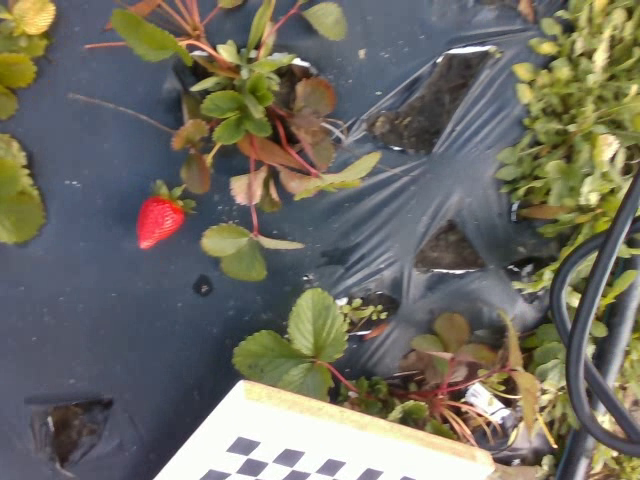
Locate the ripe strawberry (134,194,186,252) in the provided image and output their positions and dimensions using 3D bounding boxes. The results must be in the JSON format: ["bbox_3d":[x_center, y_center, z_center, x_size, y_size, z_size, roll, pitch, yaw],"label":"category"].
[{"bbox_3d":[-0.126,-0.009,0.653,0.042,0.052,0.044,13,-21,31],"label":"ripe strawberry"}]
